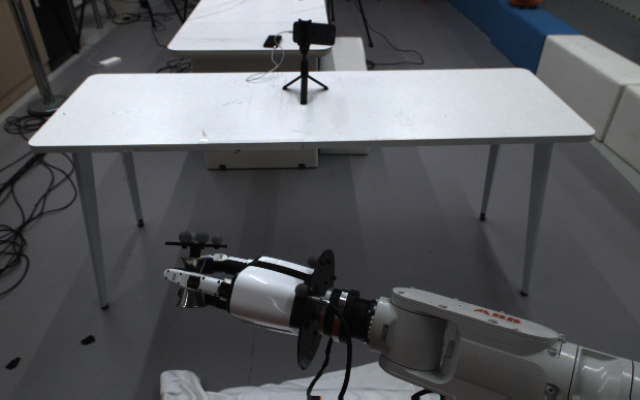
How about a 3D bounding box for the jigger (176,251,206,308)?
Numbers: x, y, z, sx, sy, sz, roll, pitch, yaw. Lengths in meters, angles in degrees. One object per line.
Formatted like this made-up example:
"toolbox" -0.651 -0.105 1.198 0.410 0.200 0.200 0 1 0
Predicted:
"jigger" -0.177 0.114 0.679 0.043 0.071 0.043 2 -6 0
